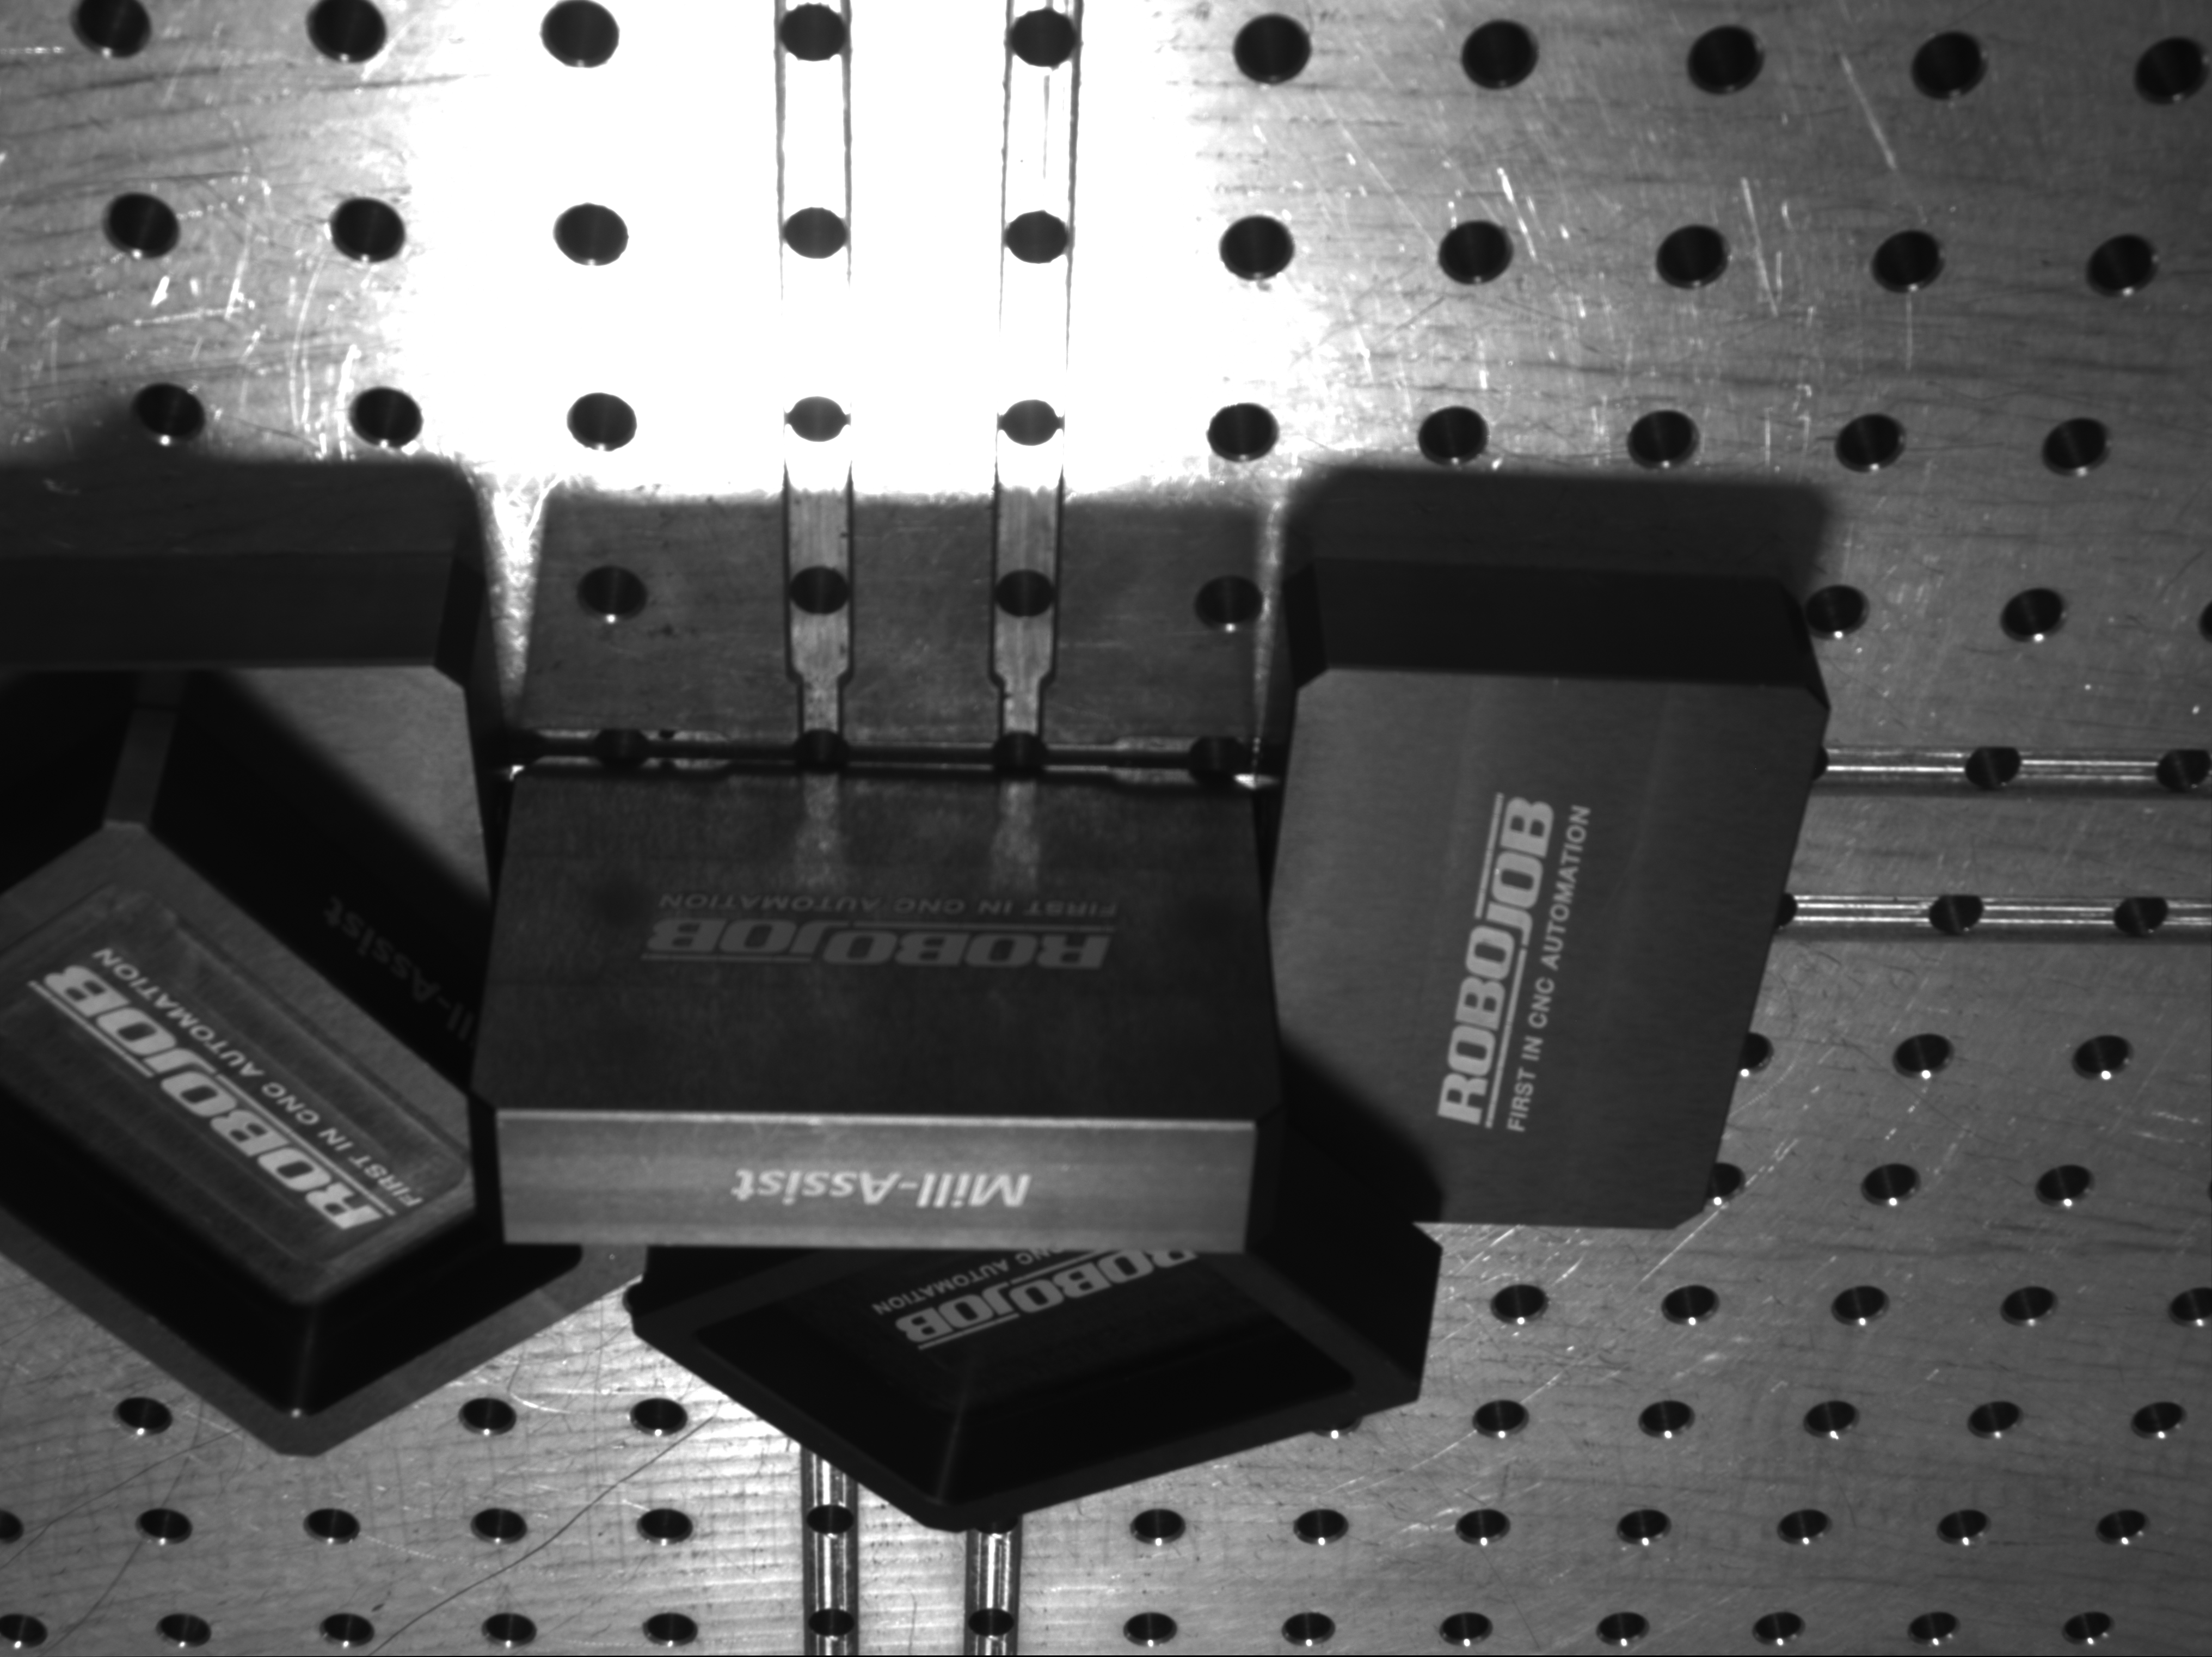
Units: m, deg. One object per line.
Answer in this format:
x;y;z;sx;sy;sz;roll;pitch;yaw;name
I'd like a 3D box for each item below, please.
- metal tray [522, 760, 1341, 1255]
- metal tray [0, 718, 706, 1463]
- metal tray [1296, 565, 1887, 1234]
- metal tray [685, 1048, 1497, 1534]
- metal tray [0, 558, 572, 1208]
-0.029;0.029;0.621;0.130;0.090;0.030;1;130;-3;metal tray
-0.142;0.049;0.633;0.090;0.030;0.130;-31;125;21;metal tray
0.080;0.016;0.653;0.090;0.030;0.130;2;130;-4;metal tray
-0.004;0.087;0.687;0.130;0.030;0.090;-24;129;39;metal tray
-0.140;0.013;0.645;0.090;0.030;0.130;-1;131;-1;metal tray
